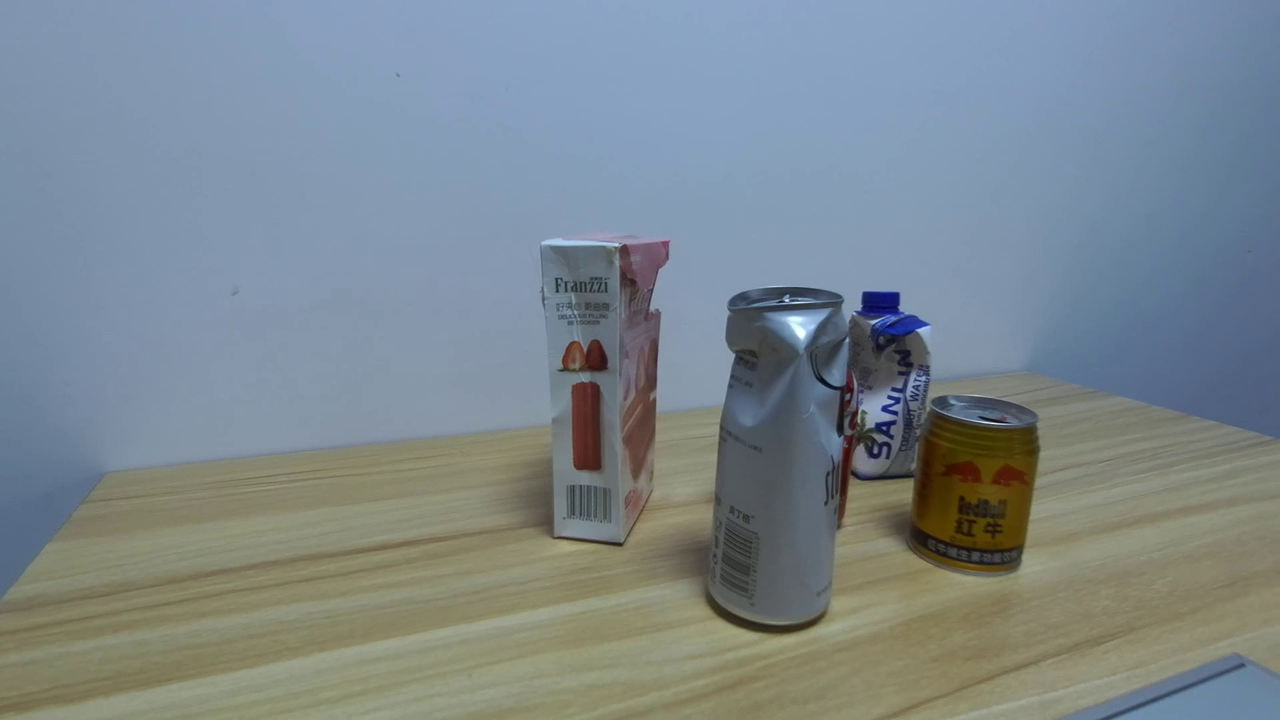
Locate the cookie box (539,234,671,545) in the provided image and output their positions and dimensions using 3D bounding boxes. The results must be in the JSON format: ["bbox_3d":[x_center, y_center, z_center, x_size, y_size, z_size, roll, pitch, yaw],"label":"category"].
[{"bbox_3d":[-0.022,0.014,0.457,0.059,0.186,0.105,6,14,14],"label":"cookie box"}]

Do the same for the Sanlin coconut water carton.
[{"bbox_3d":[0.185,0.021,0.542,0.057,0.145,0.068,-7,22,-10],"label":"Sanlin coconut water carton"}]

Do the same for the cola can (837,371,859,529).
[{"bbox_3d":[0.109,0.058,0.482,0.065,0.117,0.072,10,-8,-3],"label":"cola can"}]

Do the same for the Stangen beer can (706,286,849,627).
[{"bbox_3d":[0.069,0.049,0.358,0.065,0.166,0.066,11,17,37],"label":"Stangen beer can"}]

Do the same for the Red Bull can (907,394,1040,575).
[{"bbox_3d":[0.202,0.075,0.429,0.067,0.093,0.067,3,12,0],"label":"Red Bull can"}]
